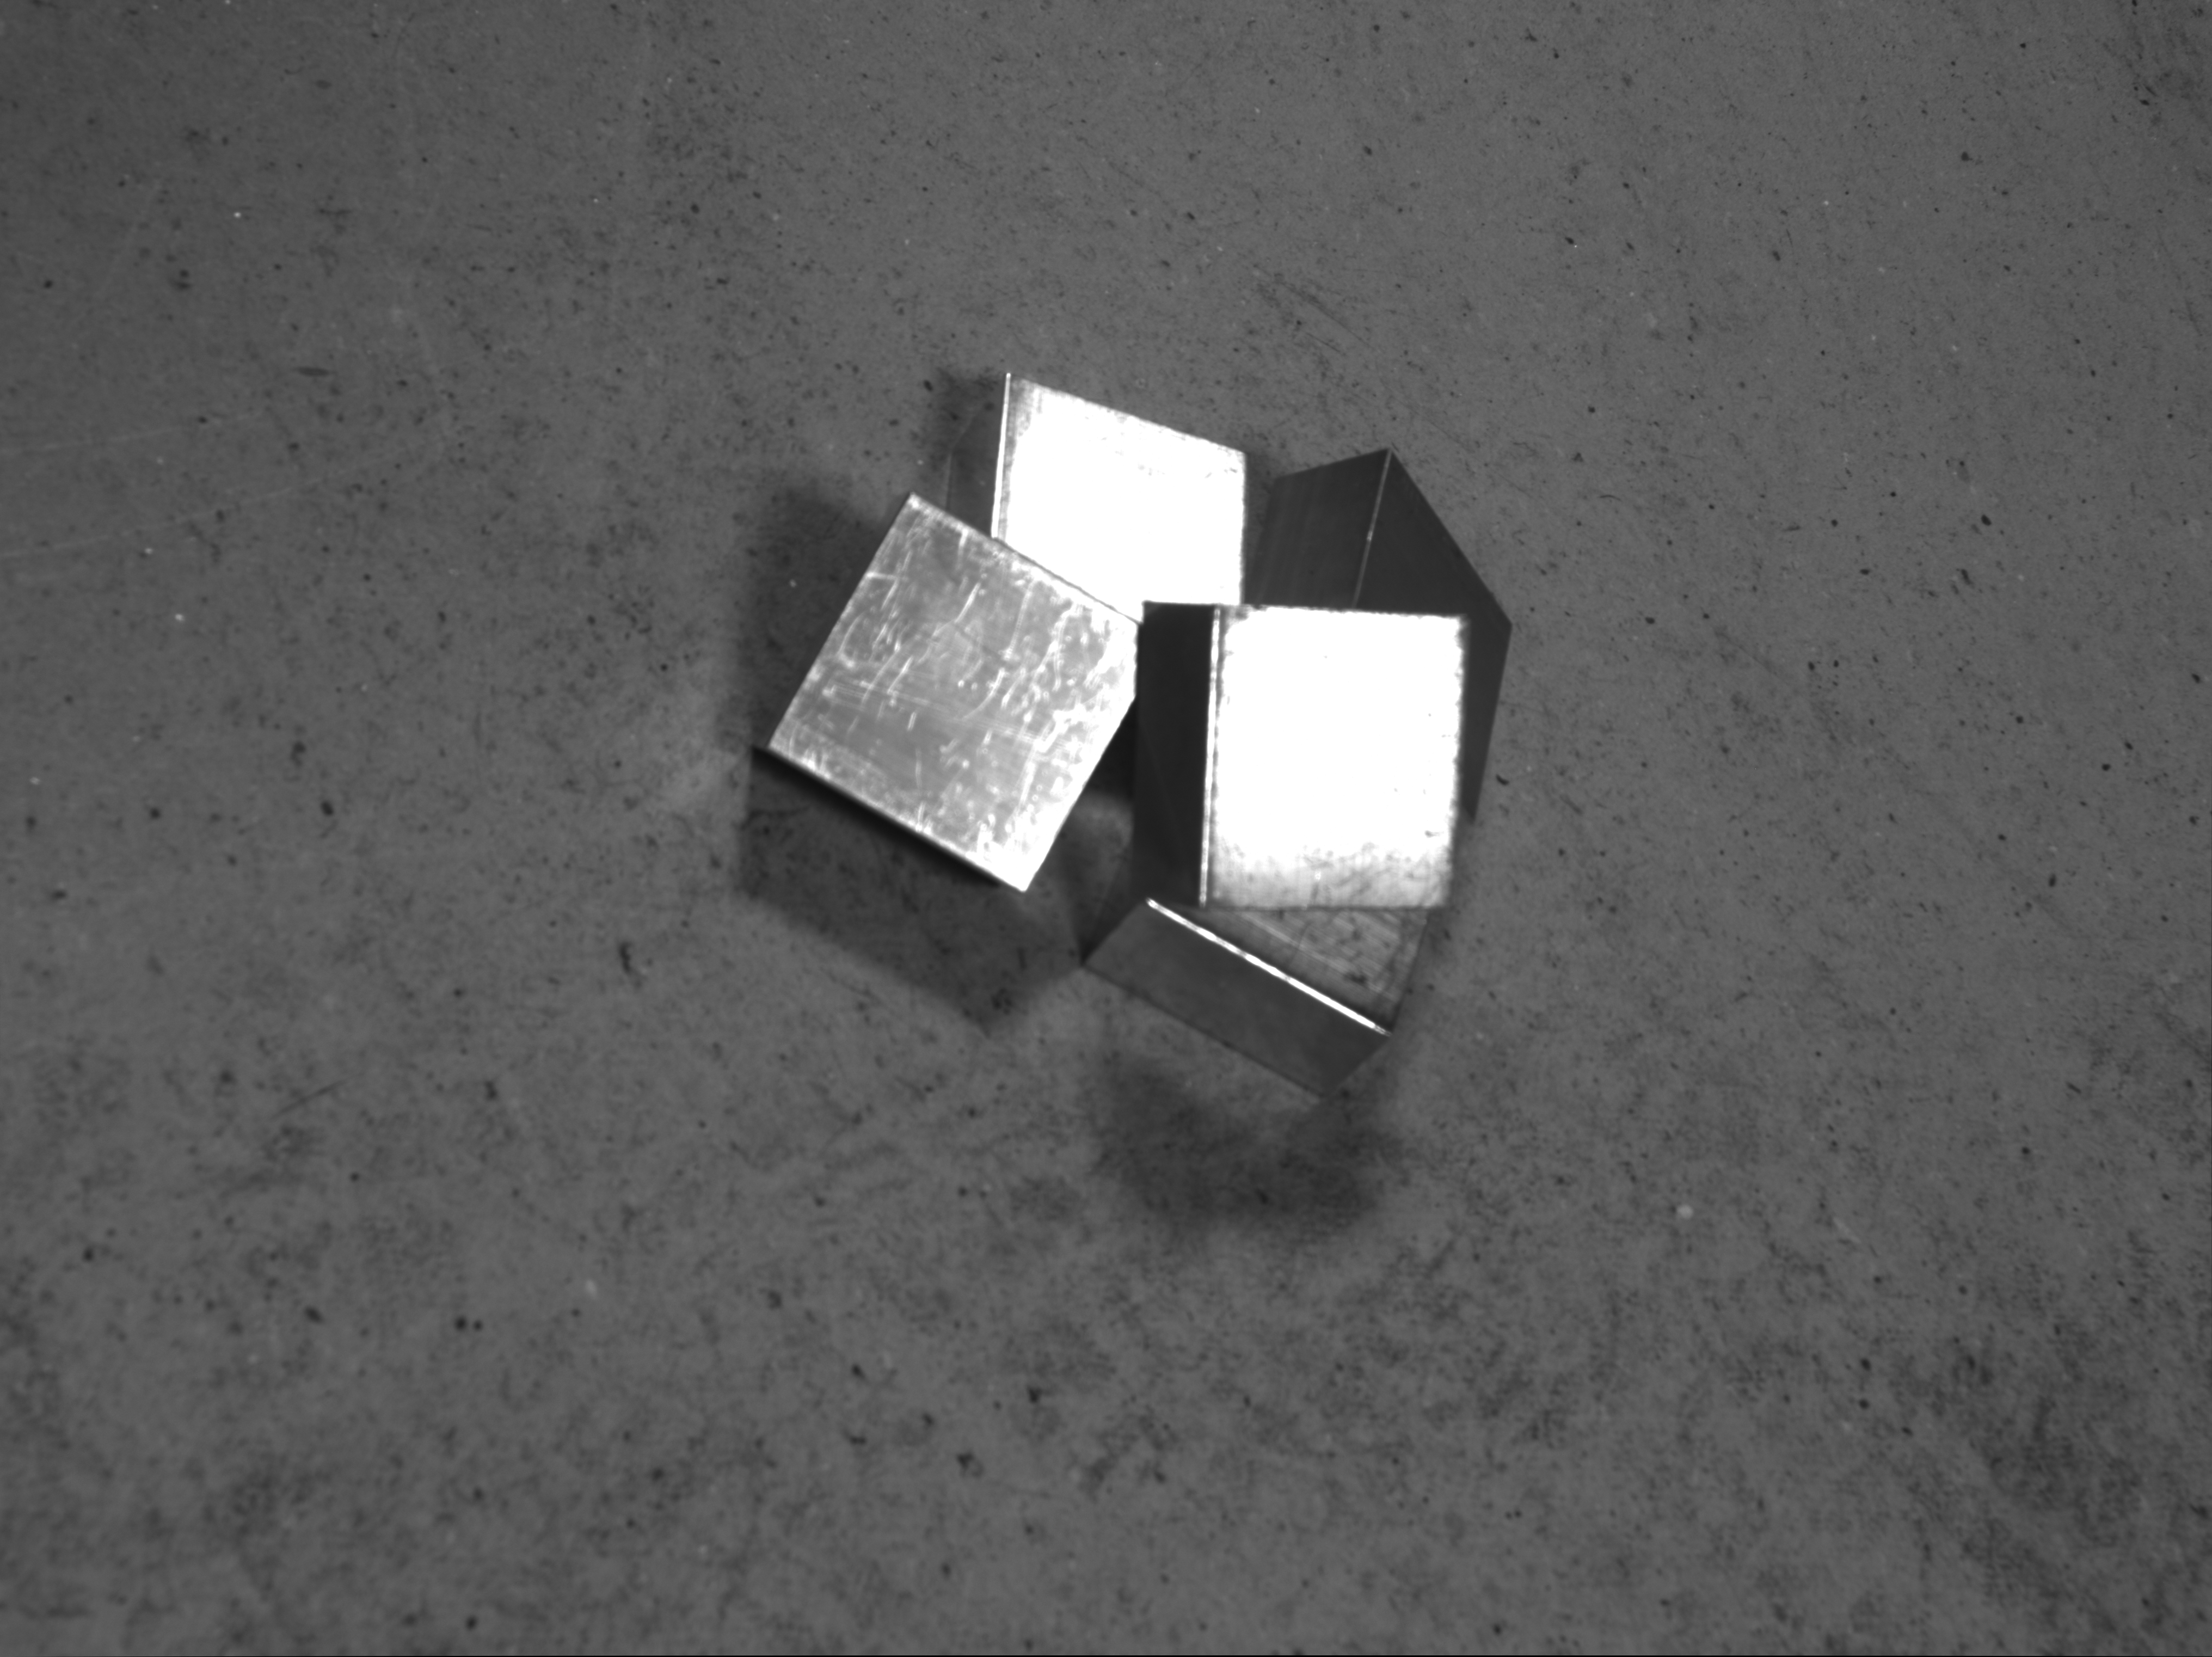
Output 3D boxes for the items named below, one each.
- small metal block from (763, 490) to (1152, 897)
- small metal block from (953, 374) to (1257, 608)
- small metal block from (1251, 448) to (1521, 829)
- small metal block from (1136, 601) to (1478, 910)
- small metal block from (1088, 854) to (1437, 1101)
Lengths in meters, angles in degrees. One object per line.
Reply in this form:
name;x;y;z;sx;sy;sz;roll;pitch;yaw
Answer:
small metal block;-0.024;-0.023;0.626;0.050;0.025;0.050;30;88;-10
small metal block;-0.001;-0.049;0.670;0.050;0.025;0.050;16;55;-19
small metal block;0.050;-0.032;0.672;0.050;0.025;0.050;50;42;-38
small metal block;0.034;-0.012;0.619;0.050;0.025;0.050;0;94;-28
small metal block;0.031;0.012;0.650;0.050;0.025;0.050;29;52;-10
